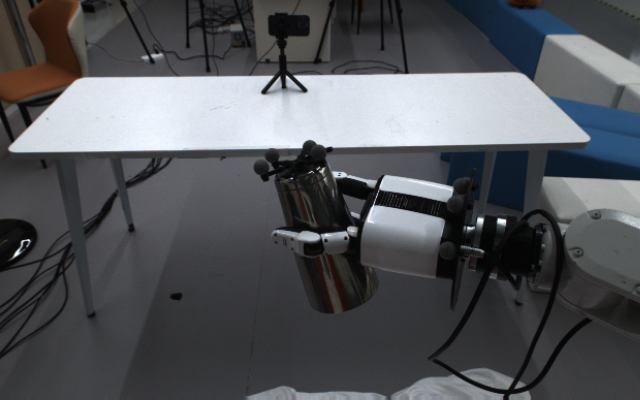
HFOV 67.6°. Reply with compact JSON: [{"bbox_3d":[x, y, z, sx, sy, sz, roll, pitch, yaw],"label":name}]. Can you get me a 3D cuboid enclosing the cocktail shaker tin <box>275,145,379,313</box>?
[{"bbox_3d":[0.005,0.040,0.583,0.093,0.170,0.093,-17,21,7],"label":"cocktail shaker tin"}]
